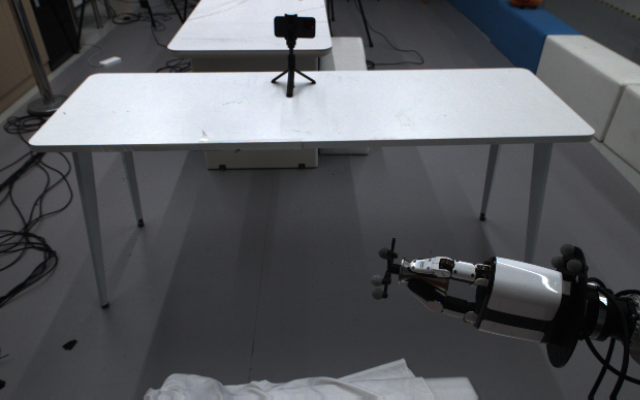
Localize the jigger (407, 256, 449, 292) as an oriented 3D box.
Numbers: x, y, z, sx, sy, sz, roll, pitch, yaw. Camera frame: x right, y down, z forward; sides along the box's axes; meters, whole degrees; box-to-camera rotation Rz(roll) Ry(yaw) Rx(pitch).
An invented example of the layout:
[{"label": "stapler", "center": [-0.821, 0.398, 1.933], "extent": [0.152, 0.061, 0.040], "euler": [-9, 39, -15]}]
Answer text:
[{"label": "jigger", "center": [0.155, 0.102, 0.687], "extent": [0.071, 0.043, 0.043], "euler": [10, 35, 15]}]
